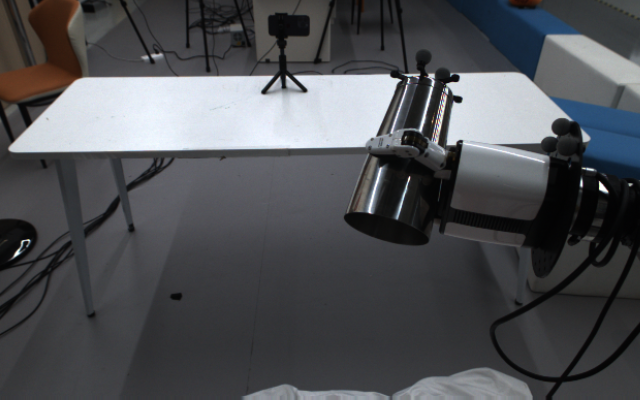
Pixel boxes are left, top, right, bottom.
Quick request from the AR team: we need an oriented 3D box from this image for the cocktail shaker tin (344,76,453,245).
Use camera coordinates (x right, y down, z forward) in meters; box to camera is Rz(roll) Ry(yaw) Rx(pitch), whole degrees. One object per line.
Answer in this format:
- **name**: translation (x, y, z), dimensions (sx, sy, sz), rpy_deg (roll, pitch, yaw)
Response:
- **cocktail shaker tin**: translation (0.096, -0.045, 0.530), dimensions (0.093, 0.093, 0.170), rpy_deg (14, 73, 16)
